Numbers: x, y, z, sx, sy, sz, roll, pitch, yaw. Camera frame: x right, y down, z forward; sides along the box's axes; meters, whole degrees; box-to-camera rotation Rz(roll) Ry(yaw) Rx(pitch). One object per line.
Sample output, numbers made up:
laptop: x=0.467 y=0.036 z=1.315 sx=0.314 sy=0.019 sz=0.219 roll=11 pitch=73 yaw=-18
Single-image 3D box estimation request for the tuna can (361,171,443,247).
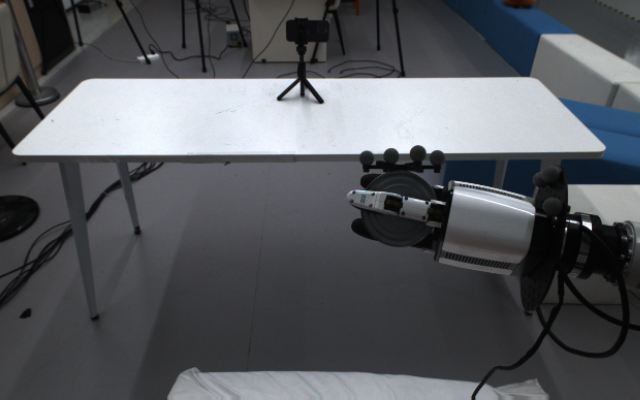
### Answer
tuna can: x=0.092 y=0.009 z=0.549 sx=0.085 sy=0.085 sz=0.034 roll=13 pitch=-3 yaw=16
